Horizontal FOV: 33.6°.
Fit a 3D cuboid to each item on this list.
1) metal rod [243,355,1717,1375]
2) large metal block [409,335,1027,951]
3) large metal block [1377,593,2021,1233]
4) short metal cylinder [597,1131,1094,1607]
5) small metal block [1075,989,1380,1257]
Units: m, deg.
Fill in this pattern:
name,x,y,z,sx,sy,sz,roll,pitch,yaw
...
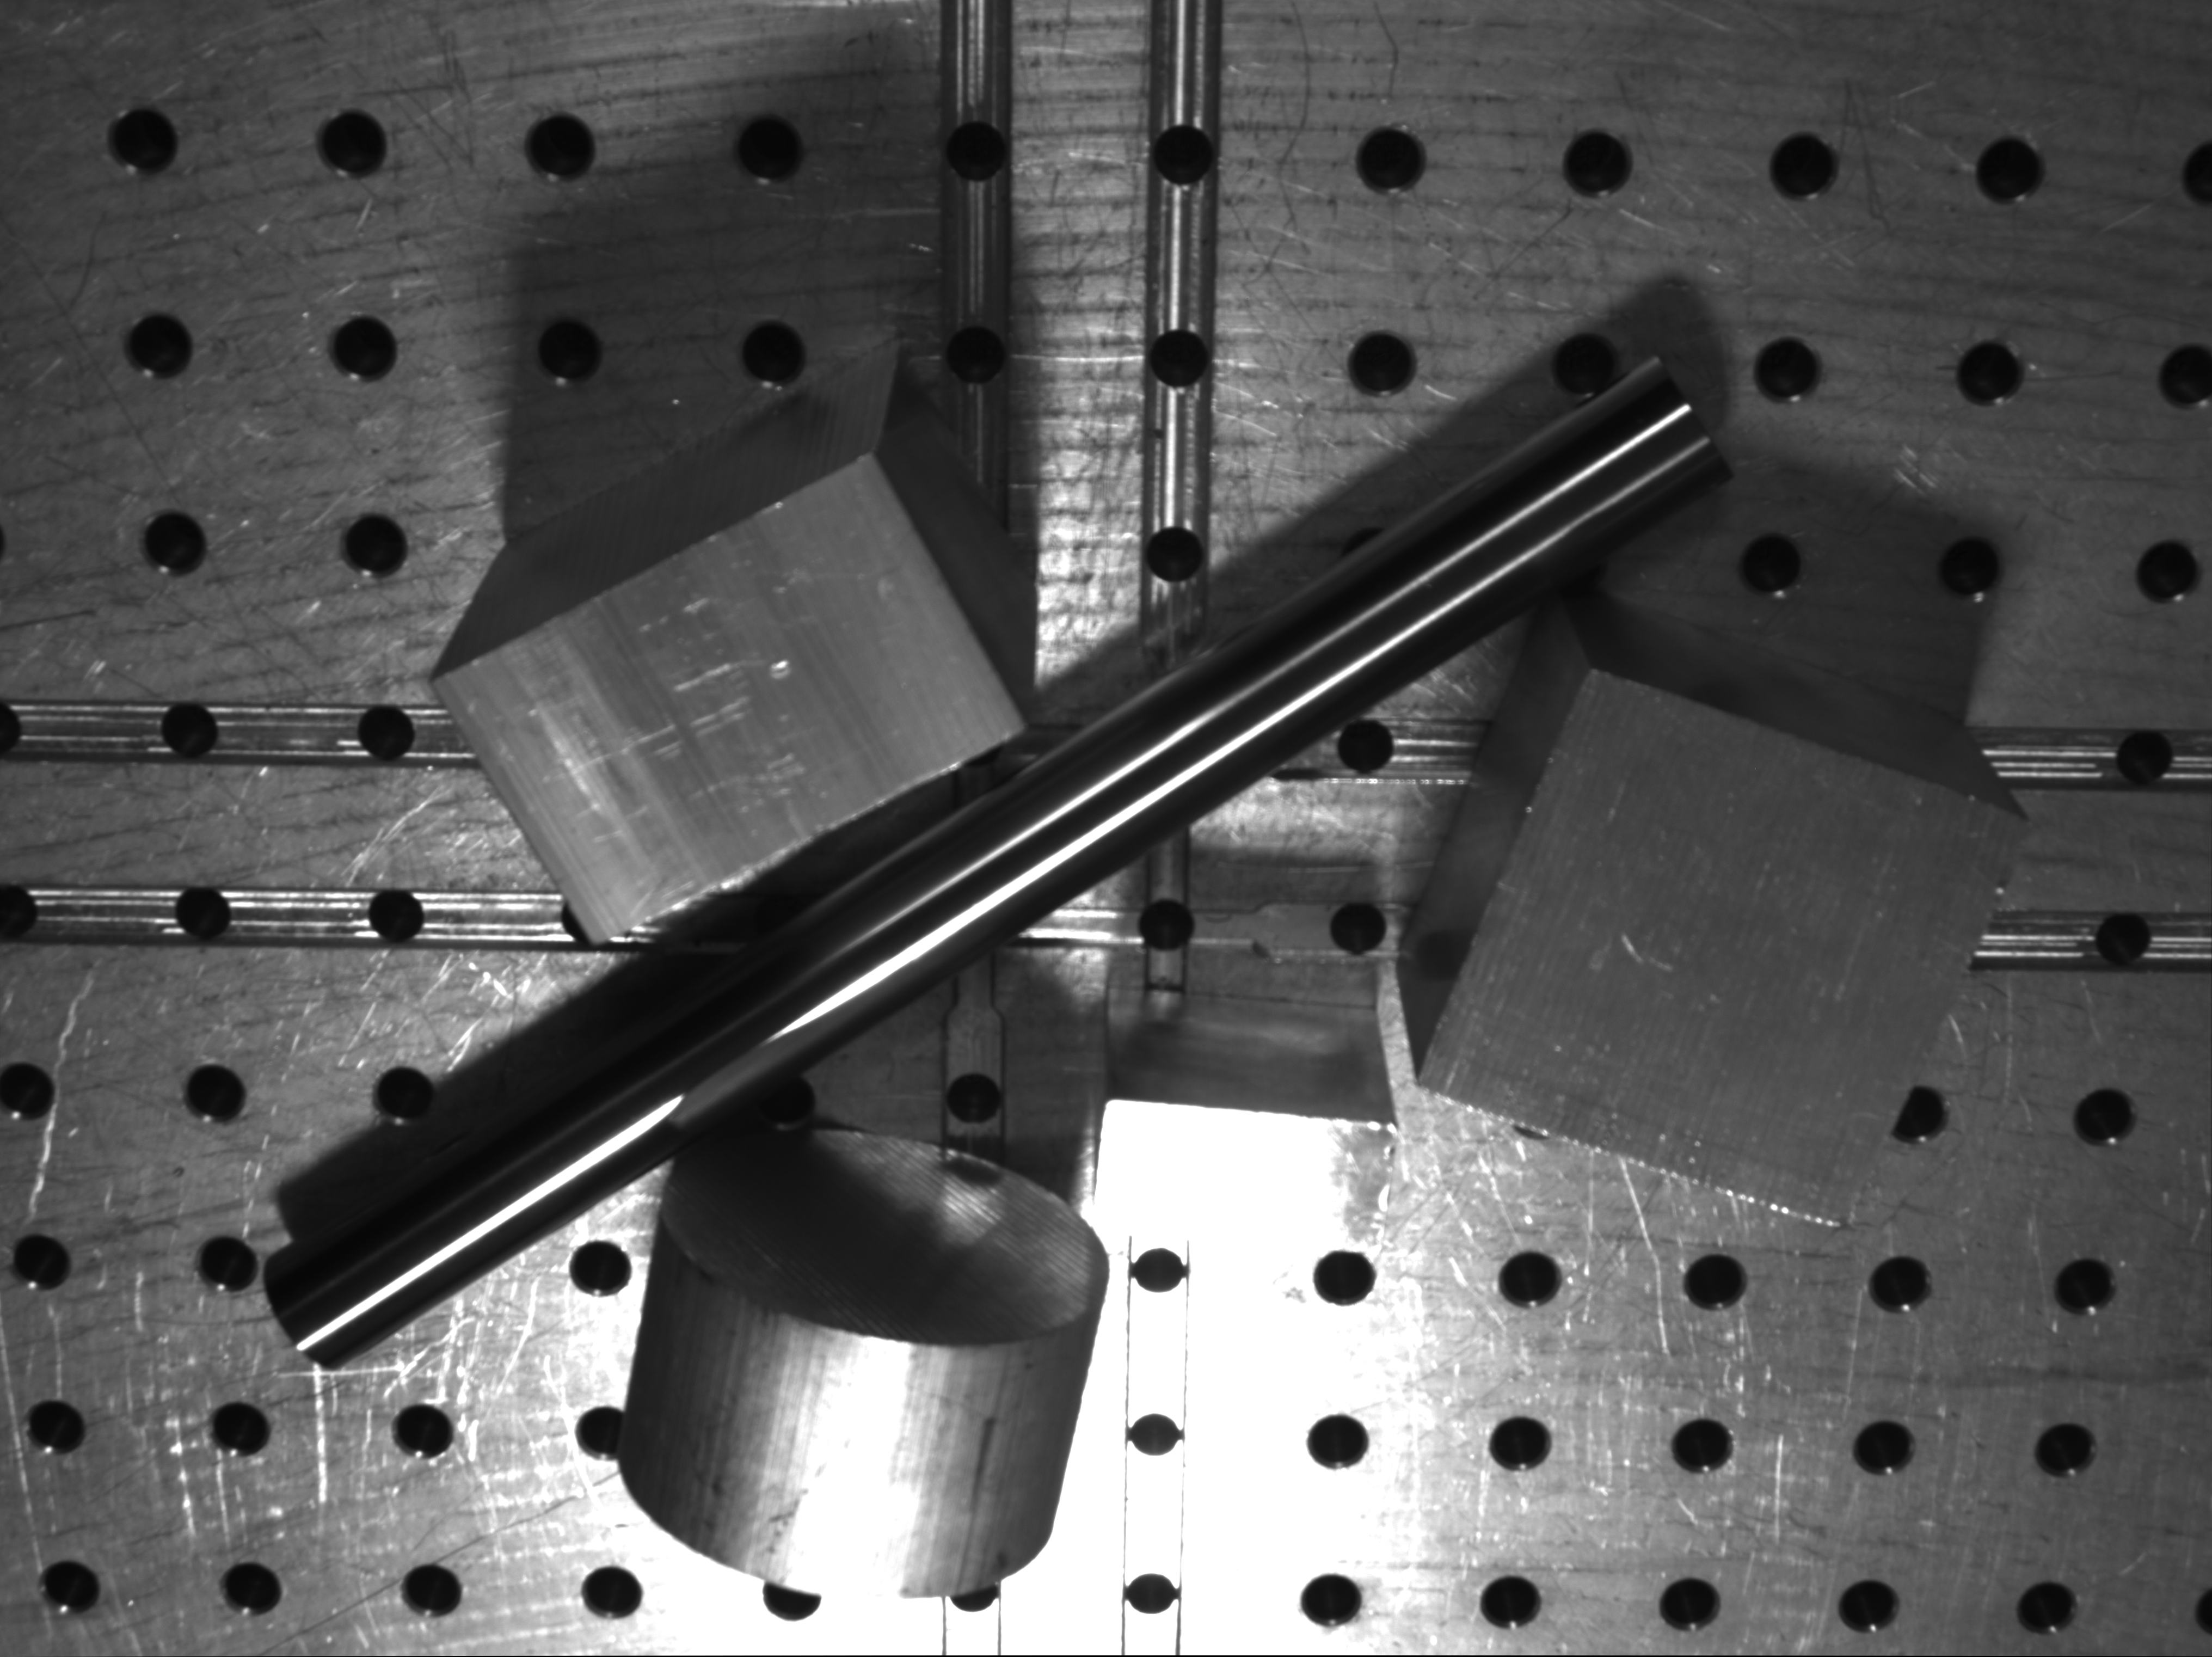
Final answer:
name,x,y,z,sx,sy,sz,roll,pitch,yaw
metal rod,-0.027,0.010,0.648,0.300,0.025,0.025,-33,107,11
large metal block,-0.061,-0.033,0.604,0.080,0.080,0.050,-27,108,9
large metal block,0.100,0.013,0.636,0.080,0.050,0.080,18,109,-7
short metal cylinder,-0.046,0.094,0.649,0.080,0.080,0.050,11,109,-5
small metal block,0.020,0.052,0.652,0.050,0.050,0.025,5,110,-2
